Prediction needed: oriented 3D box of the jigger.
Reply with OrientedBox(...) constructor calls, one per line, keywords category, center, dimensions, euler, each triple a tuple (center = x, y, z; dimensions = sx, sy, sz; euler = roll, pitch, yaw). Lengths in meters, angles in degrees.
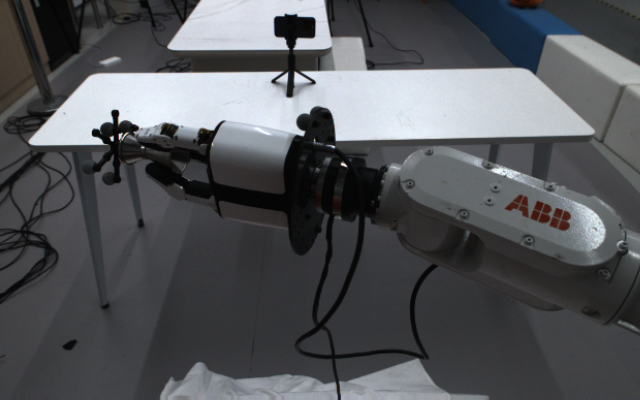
OrientedBox(category="jigger", center=(-0.189, -0.060, 0.569), dimensions=(0.071, 0.043, 0.043), euler=(8, 35, 12))
